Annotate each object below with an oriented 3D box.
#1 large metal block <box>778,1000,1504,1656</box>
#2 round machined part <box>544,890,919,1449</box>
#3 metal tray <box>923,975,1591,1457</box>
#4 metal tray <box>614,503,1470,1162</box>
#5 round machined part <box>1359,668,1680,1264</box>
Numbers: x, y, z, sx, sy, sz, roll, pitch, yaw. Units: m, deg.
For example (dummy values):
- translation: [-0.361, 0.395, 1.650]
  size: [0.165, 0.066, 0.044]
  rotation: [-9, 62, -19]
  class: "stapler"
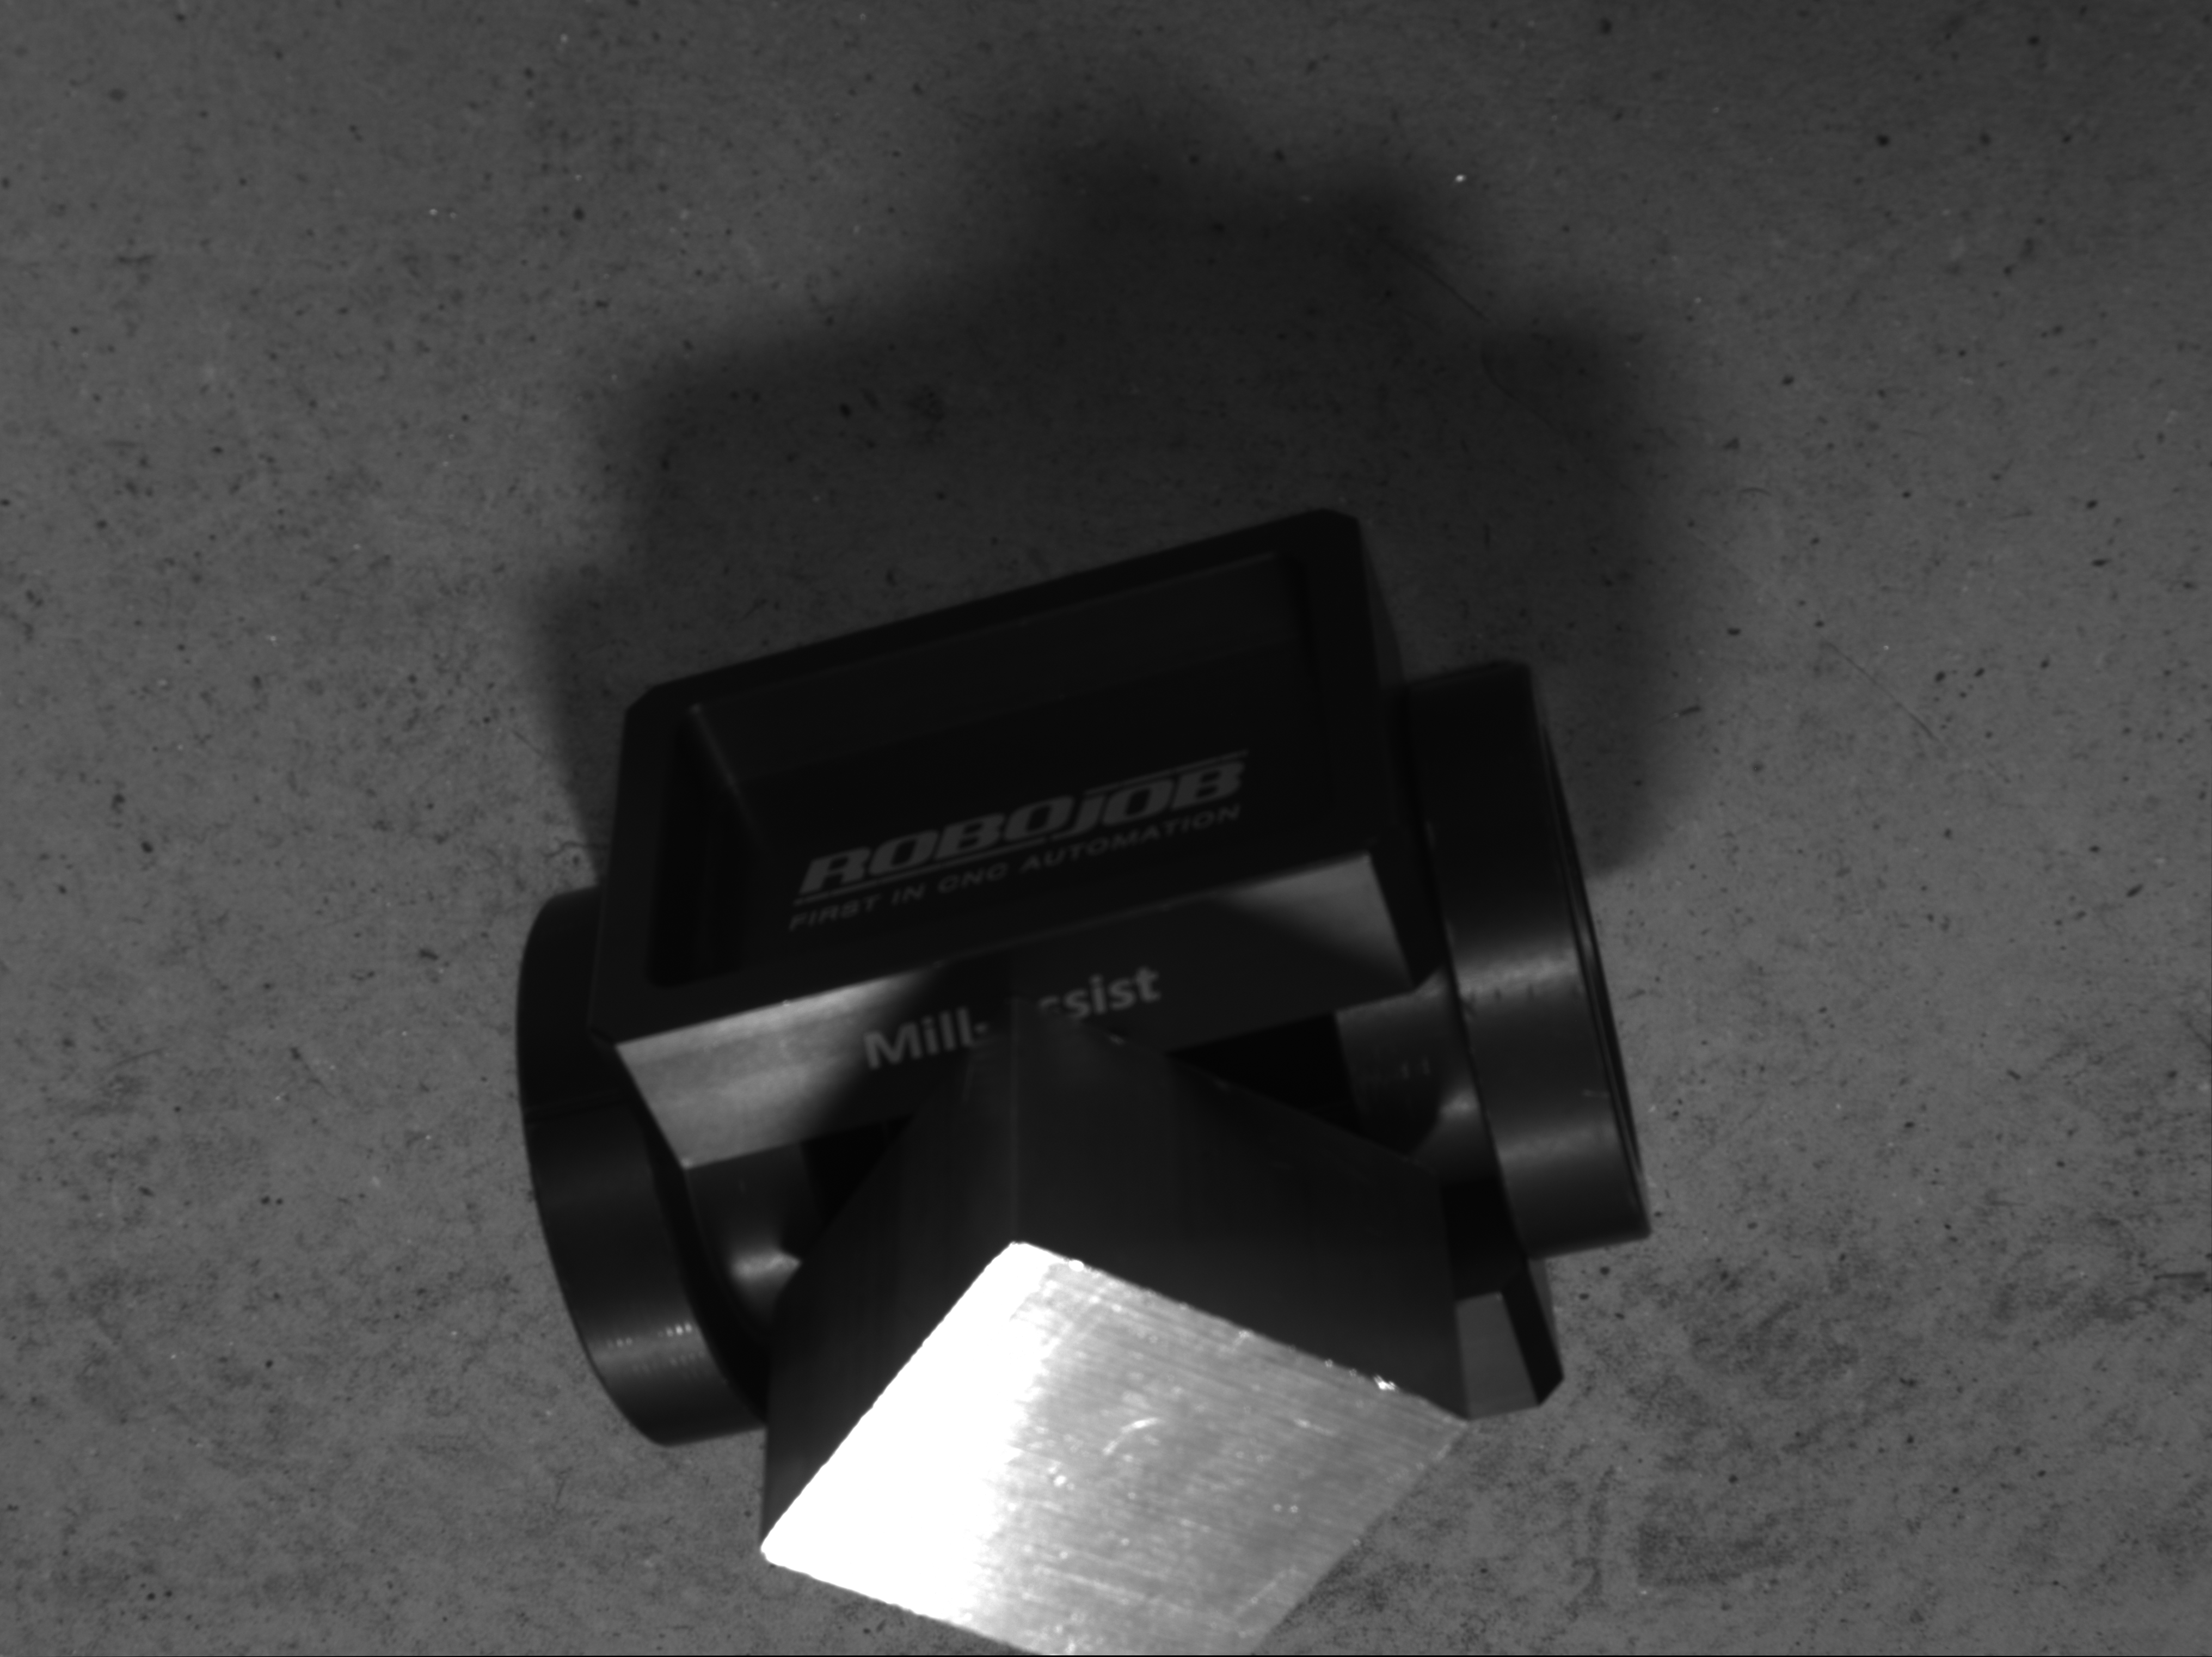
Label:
- translation: [0.004, 0.084, 0.572]
  size: [0.080, 0.050, 0.080]
  rotation: [24, 125, -20]
  class: "large metal block"
- translation: [-0.060, 0.055, 0.635]
  size: [0.042, 0.098, 0.098]
  rotation: [-12, 129, 8]
  class: "round machined part"
- translation: [0.016, 0.074, 0.657]
  size: [0.130, 0.090, 0.030]
  rotation: [-14, 129, 9]
  class: "metal tray"
- translation: [-0.011, -0.001, 0.596]
  size: [0.130, 0.090, 0.030]
  rotation: [-14, 129, 10]
  class: "metal tray"
- translation: [0.066, 0.025, 0.613]
  size: [0.042, 0.098, 0.098]
  rotation: [-12, 129, 8]
  class: "round machined part"
